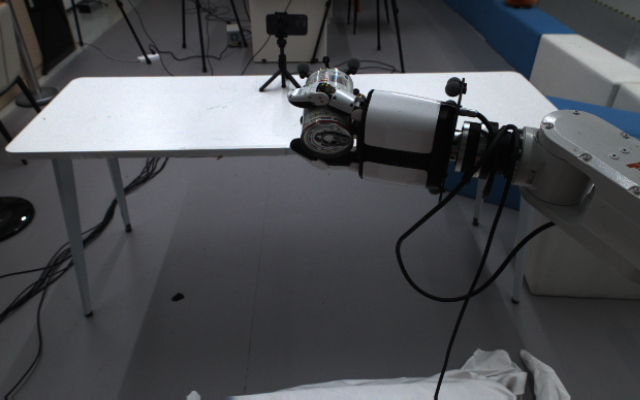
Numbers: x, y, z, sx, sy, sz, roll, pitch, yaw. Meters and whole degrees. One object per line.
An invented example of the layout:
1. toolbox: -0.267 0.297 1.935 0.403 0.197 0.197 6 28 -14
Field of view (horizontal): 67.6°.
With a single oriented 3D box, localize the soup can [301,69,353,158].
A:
1. soup can: 0.011 -0.115 0.630 0.067 0.067 0.101 3 56 1
